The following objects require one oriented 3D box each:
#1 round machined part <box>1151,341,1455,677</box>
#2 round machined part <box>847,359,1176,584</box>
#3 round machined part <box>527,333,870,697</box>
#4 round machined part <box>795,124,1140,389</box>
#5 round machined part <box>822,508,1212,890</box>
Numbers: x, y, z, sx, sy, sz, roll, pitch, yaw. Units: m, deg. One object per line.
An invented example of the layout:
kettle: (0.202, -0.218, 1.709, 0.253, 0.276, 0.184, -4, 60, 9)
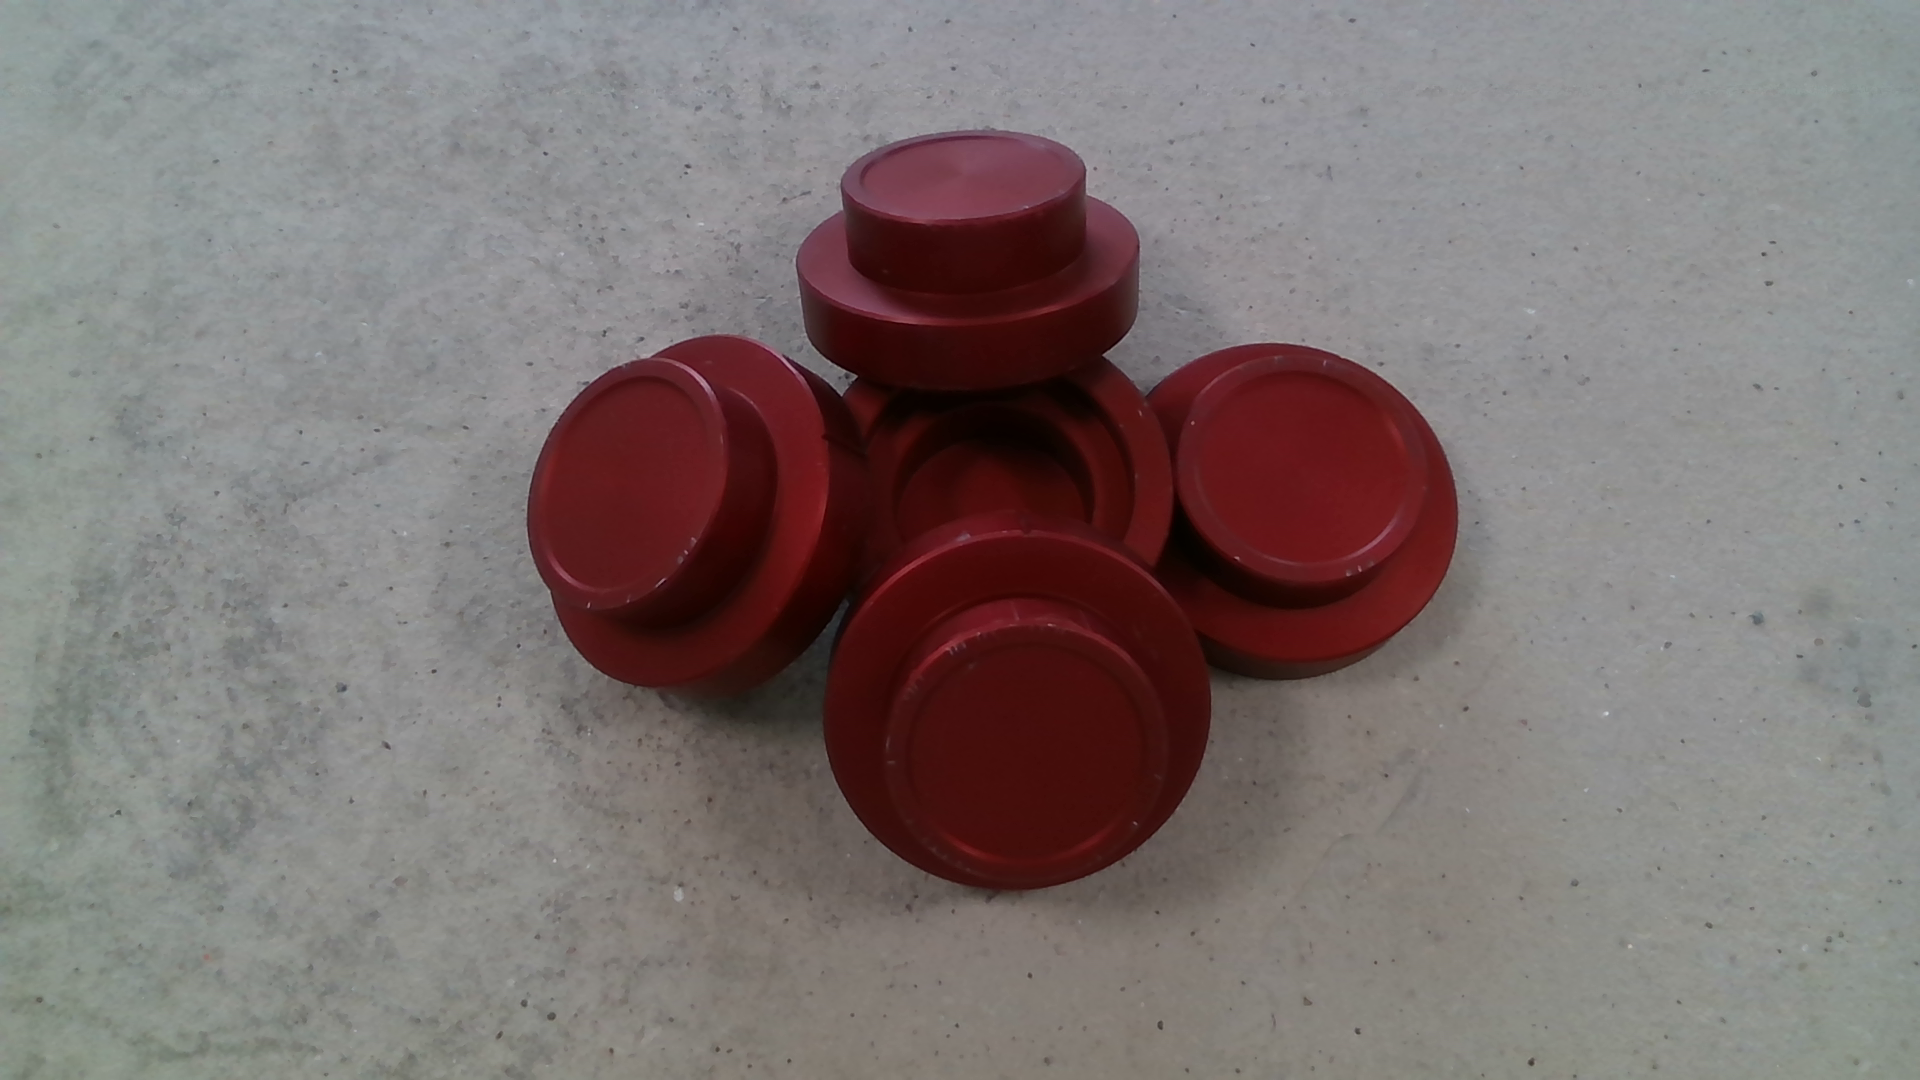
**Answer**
round machined part: (0.092, -0.013, 0.391, 0.098, 0.042, 0.098, 1, 70, -1)
round machined part: (0.009, -0.009, 0.390, 0.098, 0.042, 0.098, 0, 68, -1)
round machined part: (-0.076, -0.010, 0.367, 0.098, 0.042, 0.098, -10, 71, 29)
round machined part: (0.002, -0.086, 0.392, 0.098, 0.042, 0.098, -3, 37, 2)
round machined part: (0.015, 0.045, 0.344, 0.098, 0.042, 0.098, -1, 106, -3)
